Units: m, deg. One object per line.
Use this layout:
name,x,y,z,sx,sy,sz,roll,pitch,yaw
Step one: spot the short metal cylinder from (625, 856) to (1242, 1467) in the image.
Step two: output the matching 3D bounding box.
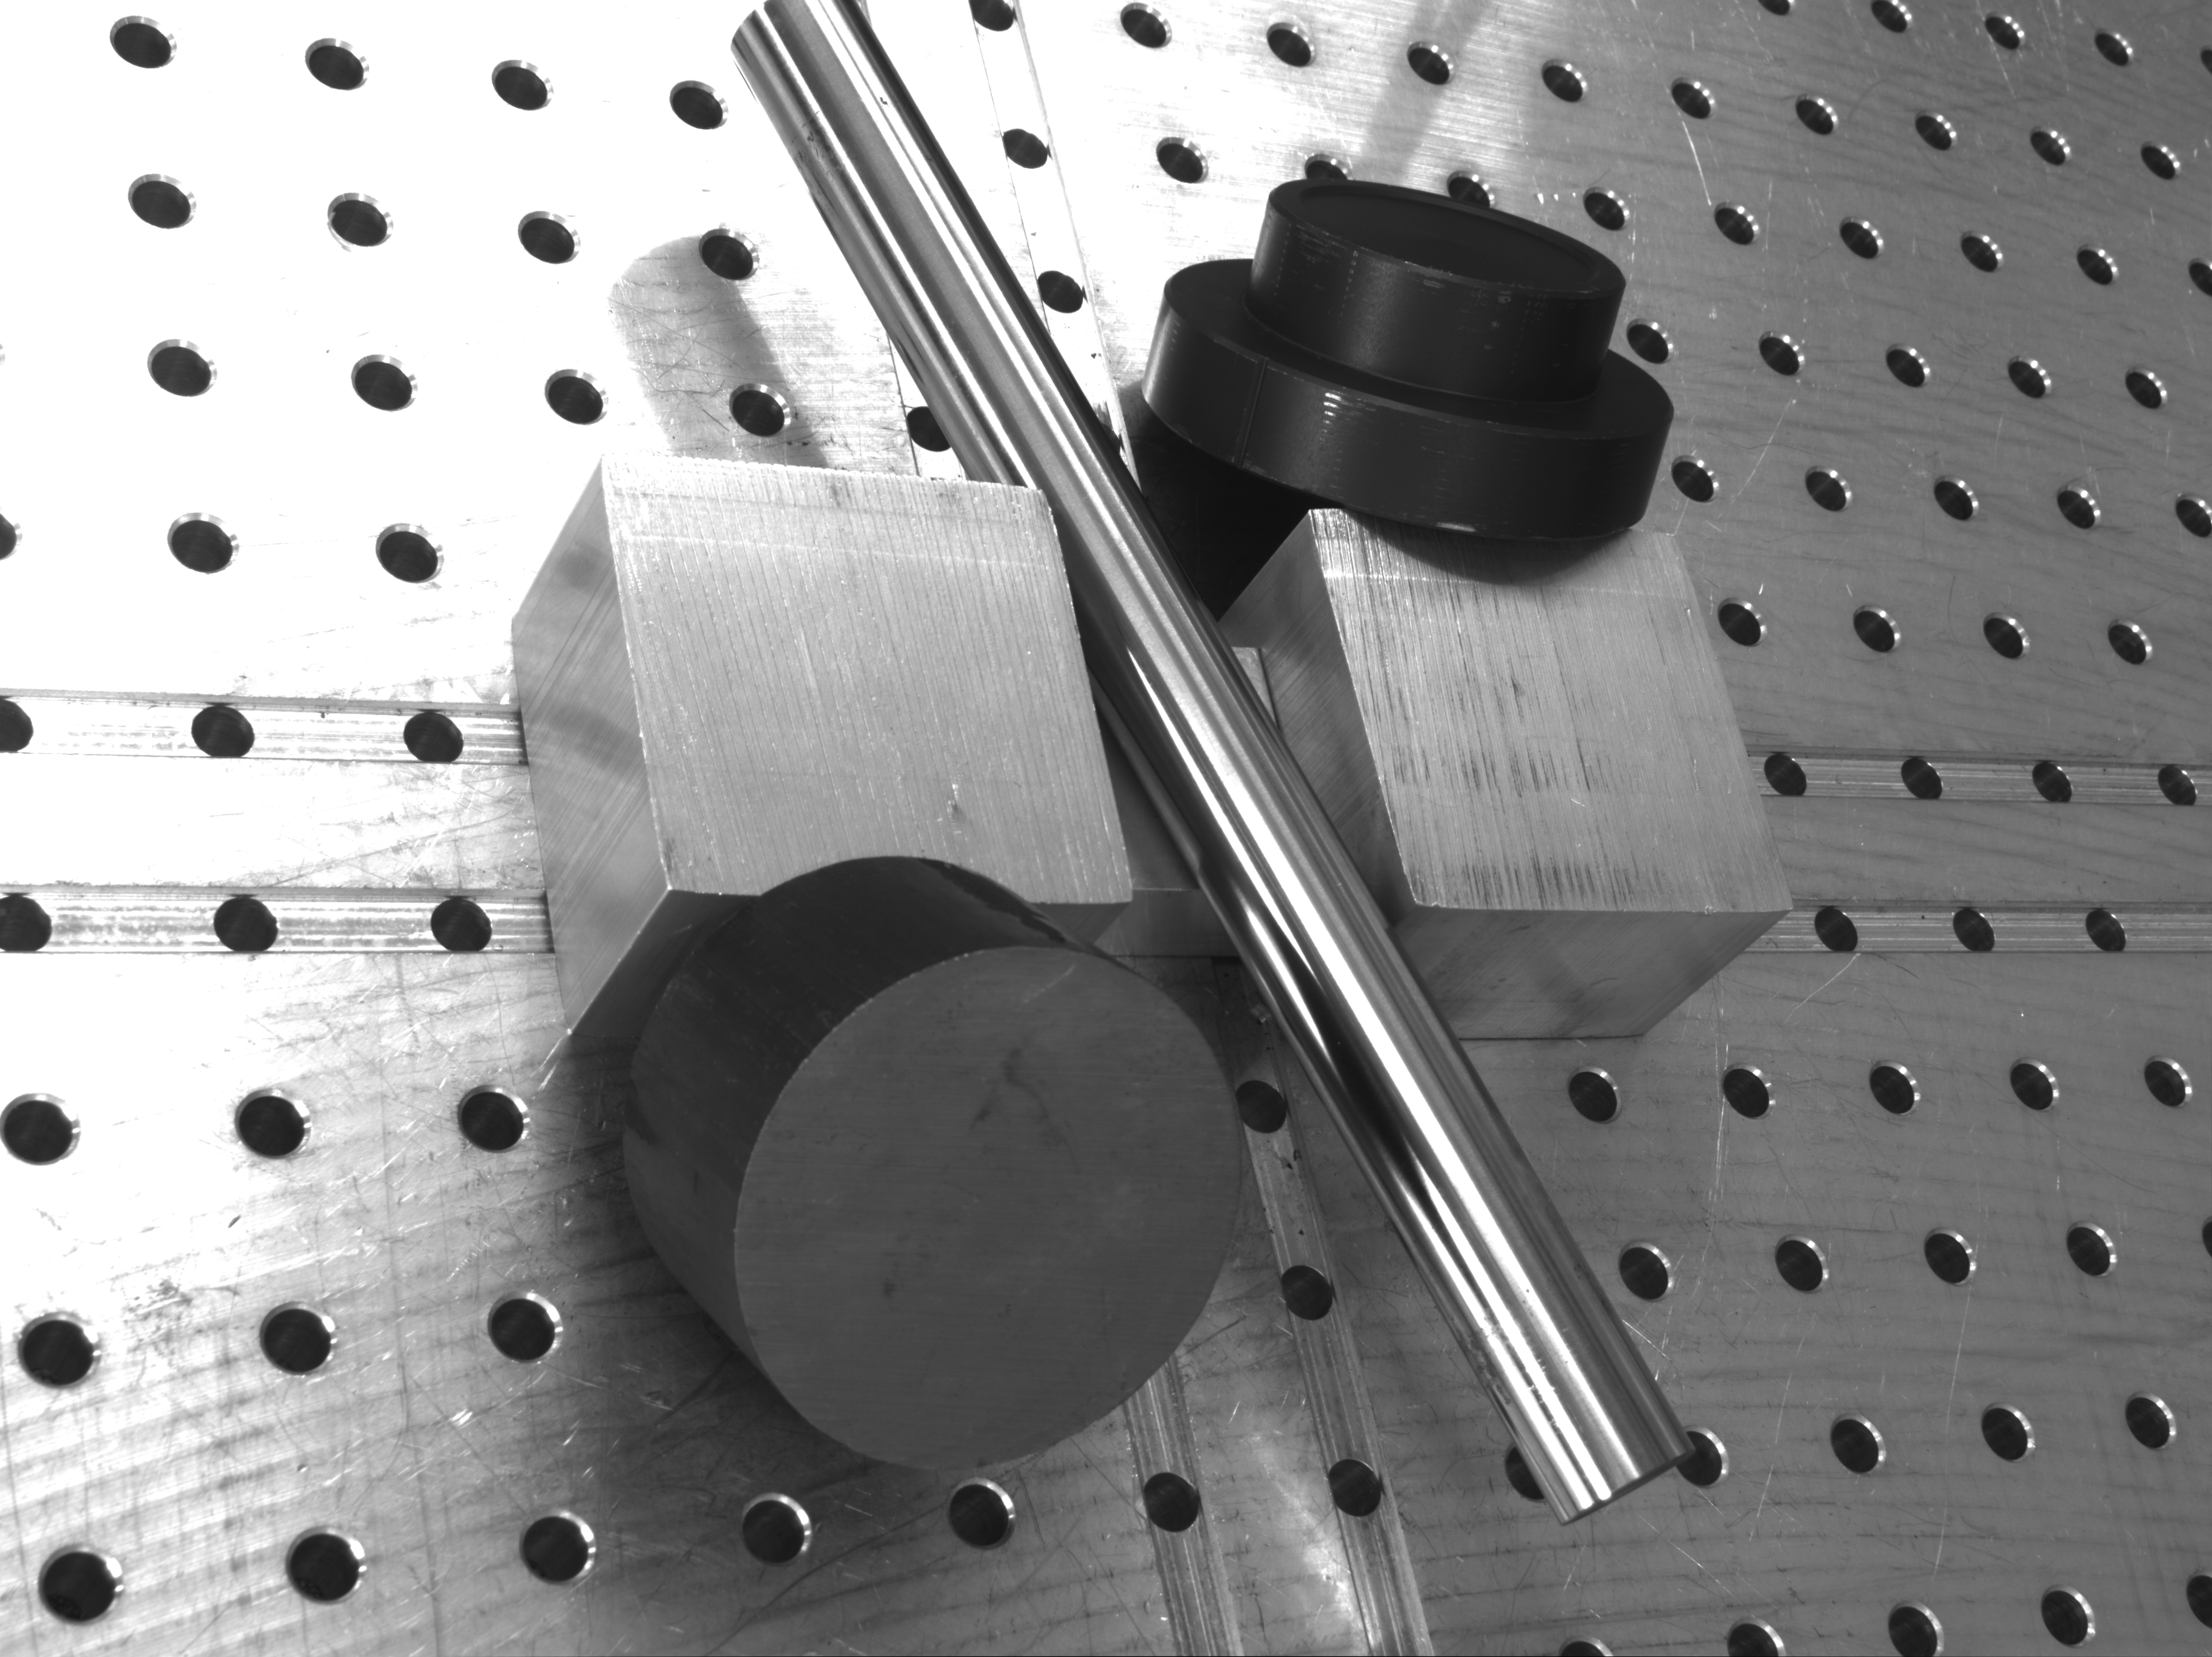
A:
short metal cylinder,-0.026,0.049,0.555,0.080,0.050,0.080,-8,108,-25

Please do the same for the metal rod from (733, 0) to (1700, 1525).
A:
metal rod,0.014,-0.020,0.629,0.025,0.025,0.300,-18,71,-35

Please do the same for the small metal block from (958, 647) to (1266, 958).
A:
small metal block,0.005,-0.005,0.649,0.050,0.025,0.050,1,61,-28

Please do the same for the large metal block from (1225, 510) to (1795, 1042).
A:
large metal block,0.068,-0.008,0.669,0.080,0.050,0.080,1,61,-28

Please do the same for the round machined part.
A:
round machined part,0.059,-0.091,0.687,0.098,0.042,0.098,12,23,-5

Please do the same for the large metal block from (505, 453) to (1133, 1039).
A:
large metal block,-0.049,-0.012,0.608,0.080,0.050,0.080,2,61,-27
